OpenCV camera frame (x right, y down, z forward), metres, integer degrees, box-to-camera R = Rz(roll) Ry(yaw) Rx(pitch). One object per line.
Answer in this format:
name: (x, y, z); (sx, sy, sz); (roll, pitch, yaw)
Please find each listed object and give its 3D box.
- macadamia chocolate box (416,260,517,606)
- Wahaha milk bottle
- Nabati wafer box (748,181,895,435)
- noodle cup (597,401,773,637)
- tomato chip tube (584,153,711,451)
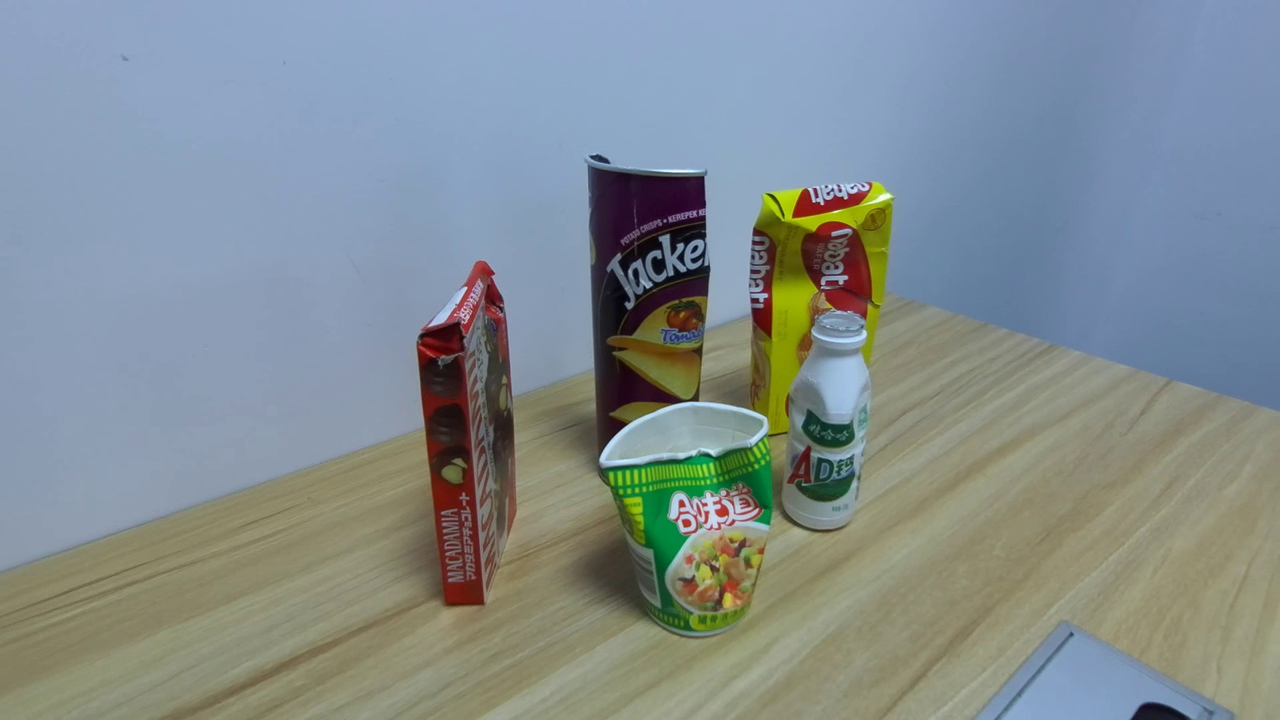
macadamia chocolate box: (-0.099, 0.043, 0.427); (0.027, 0.187, 0.102); (3, 27, 1)
Wahaha milk bottle: (0.124, 0.041, 0.468); (0.055, 0.149, 0.055); (-1, 28, 1)
Nabati wafer box: (0.139, -0.037, 0.568); (0.107, 0.204, 0.042); (-7, 26, -16)
noodle cup: (0.035, 0.092, 0.408); (0.082, 0.122, 0.075); (-3, 18, 17)
tomato chip tube: (0.005, -0.021, 0.505); (0.076, 0.235, 0.077); (-4, 25, -7)
